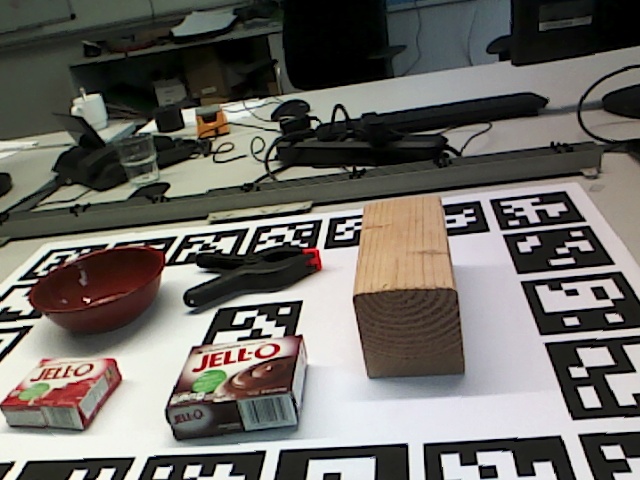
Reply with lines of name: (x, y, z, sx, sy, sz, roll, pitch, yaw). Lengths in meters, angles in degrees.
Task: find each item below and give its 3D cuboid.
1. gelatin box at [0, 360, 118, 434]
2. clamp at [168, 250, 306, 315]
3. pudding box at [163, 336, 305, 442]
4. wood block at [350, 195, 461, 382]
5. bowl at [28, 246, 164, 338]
gelatin box: (-0.255, 0.150, 0.602, 0.090, 0.030, 0.073, -3, 29, 16)
clamp: (-0.101, 0.043, 0.771, 0.165, 0.036, 0.122, -9, 26, -1)
pudding box: (-0.074, 0.134, 0.559, 0.114, 0.038, 0.090, -9, 30, 10)
wood block: (0.088, 0.040, 0.624, 0.090, 0.090, 0.206, -4, 27, 11)
bowl: (-0.265, 0.070, 0.756, 0.162, 0.055, 0.162, -8, 29, 4)
